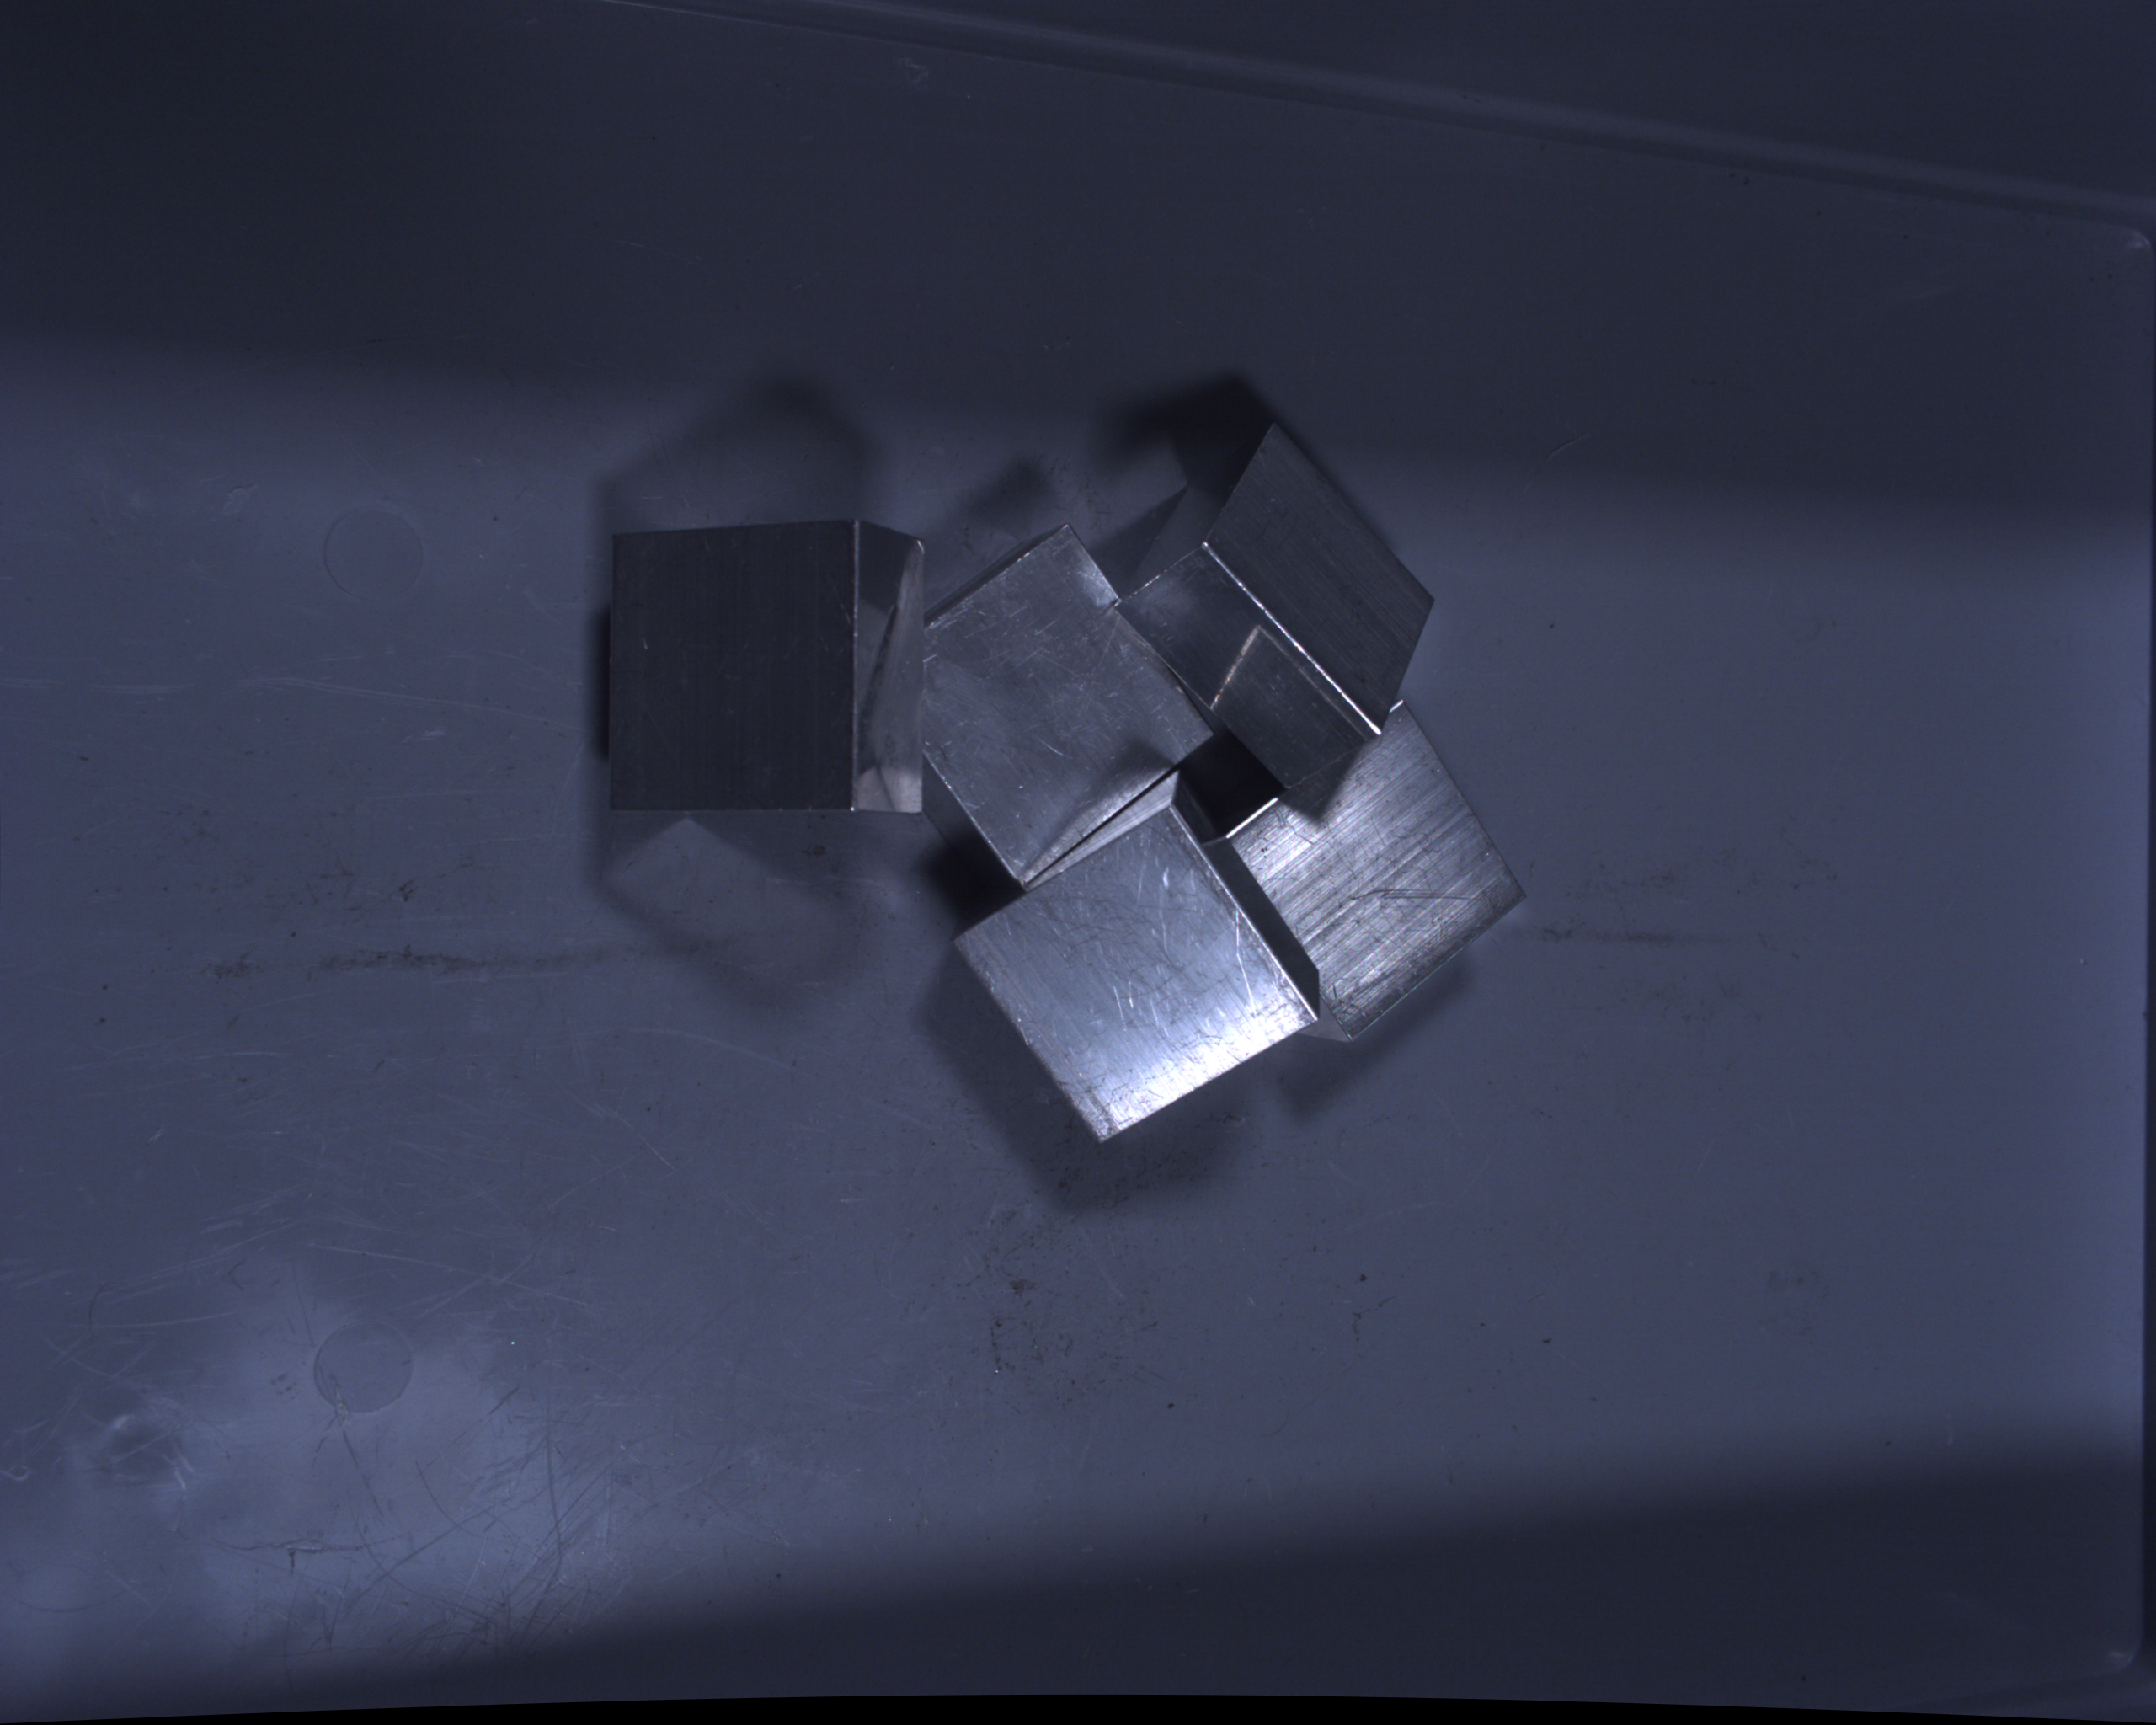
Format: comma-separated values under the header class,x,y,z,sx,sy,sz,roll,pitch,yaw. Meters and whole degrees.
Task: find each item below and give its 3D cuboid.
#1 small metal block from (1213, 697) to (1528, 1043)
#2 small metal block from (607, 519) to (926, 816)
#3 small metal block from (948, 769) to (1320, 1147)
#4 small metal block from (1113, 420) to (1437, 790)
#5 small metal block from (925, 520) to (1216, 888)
class,x,y,z,sx,sy,sz,roll,pitch,yaw
small metal block,0.056,0.001,0.431,0.050,0.025,0.050,-38,102,-16
small metal block,-0.056,-0.033,0.374,0.050,0.025,0.050,0,89,23
small metal block,0.012,0.018,0.402,0.050,0.025,0.050,-32,102,14
small metal block,0.040,-0.051,0.412,0.050,0.025,0.050,45,41,-15
small metal block,-0.011,-0.030,0.406,0.050,0.025,0.050,-39,103,-16
